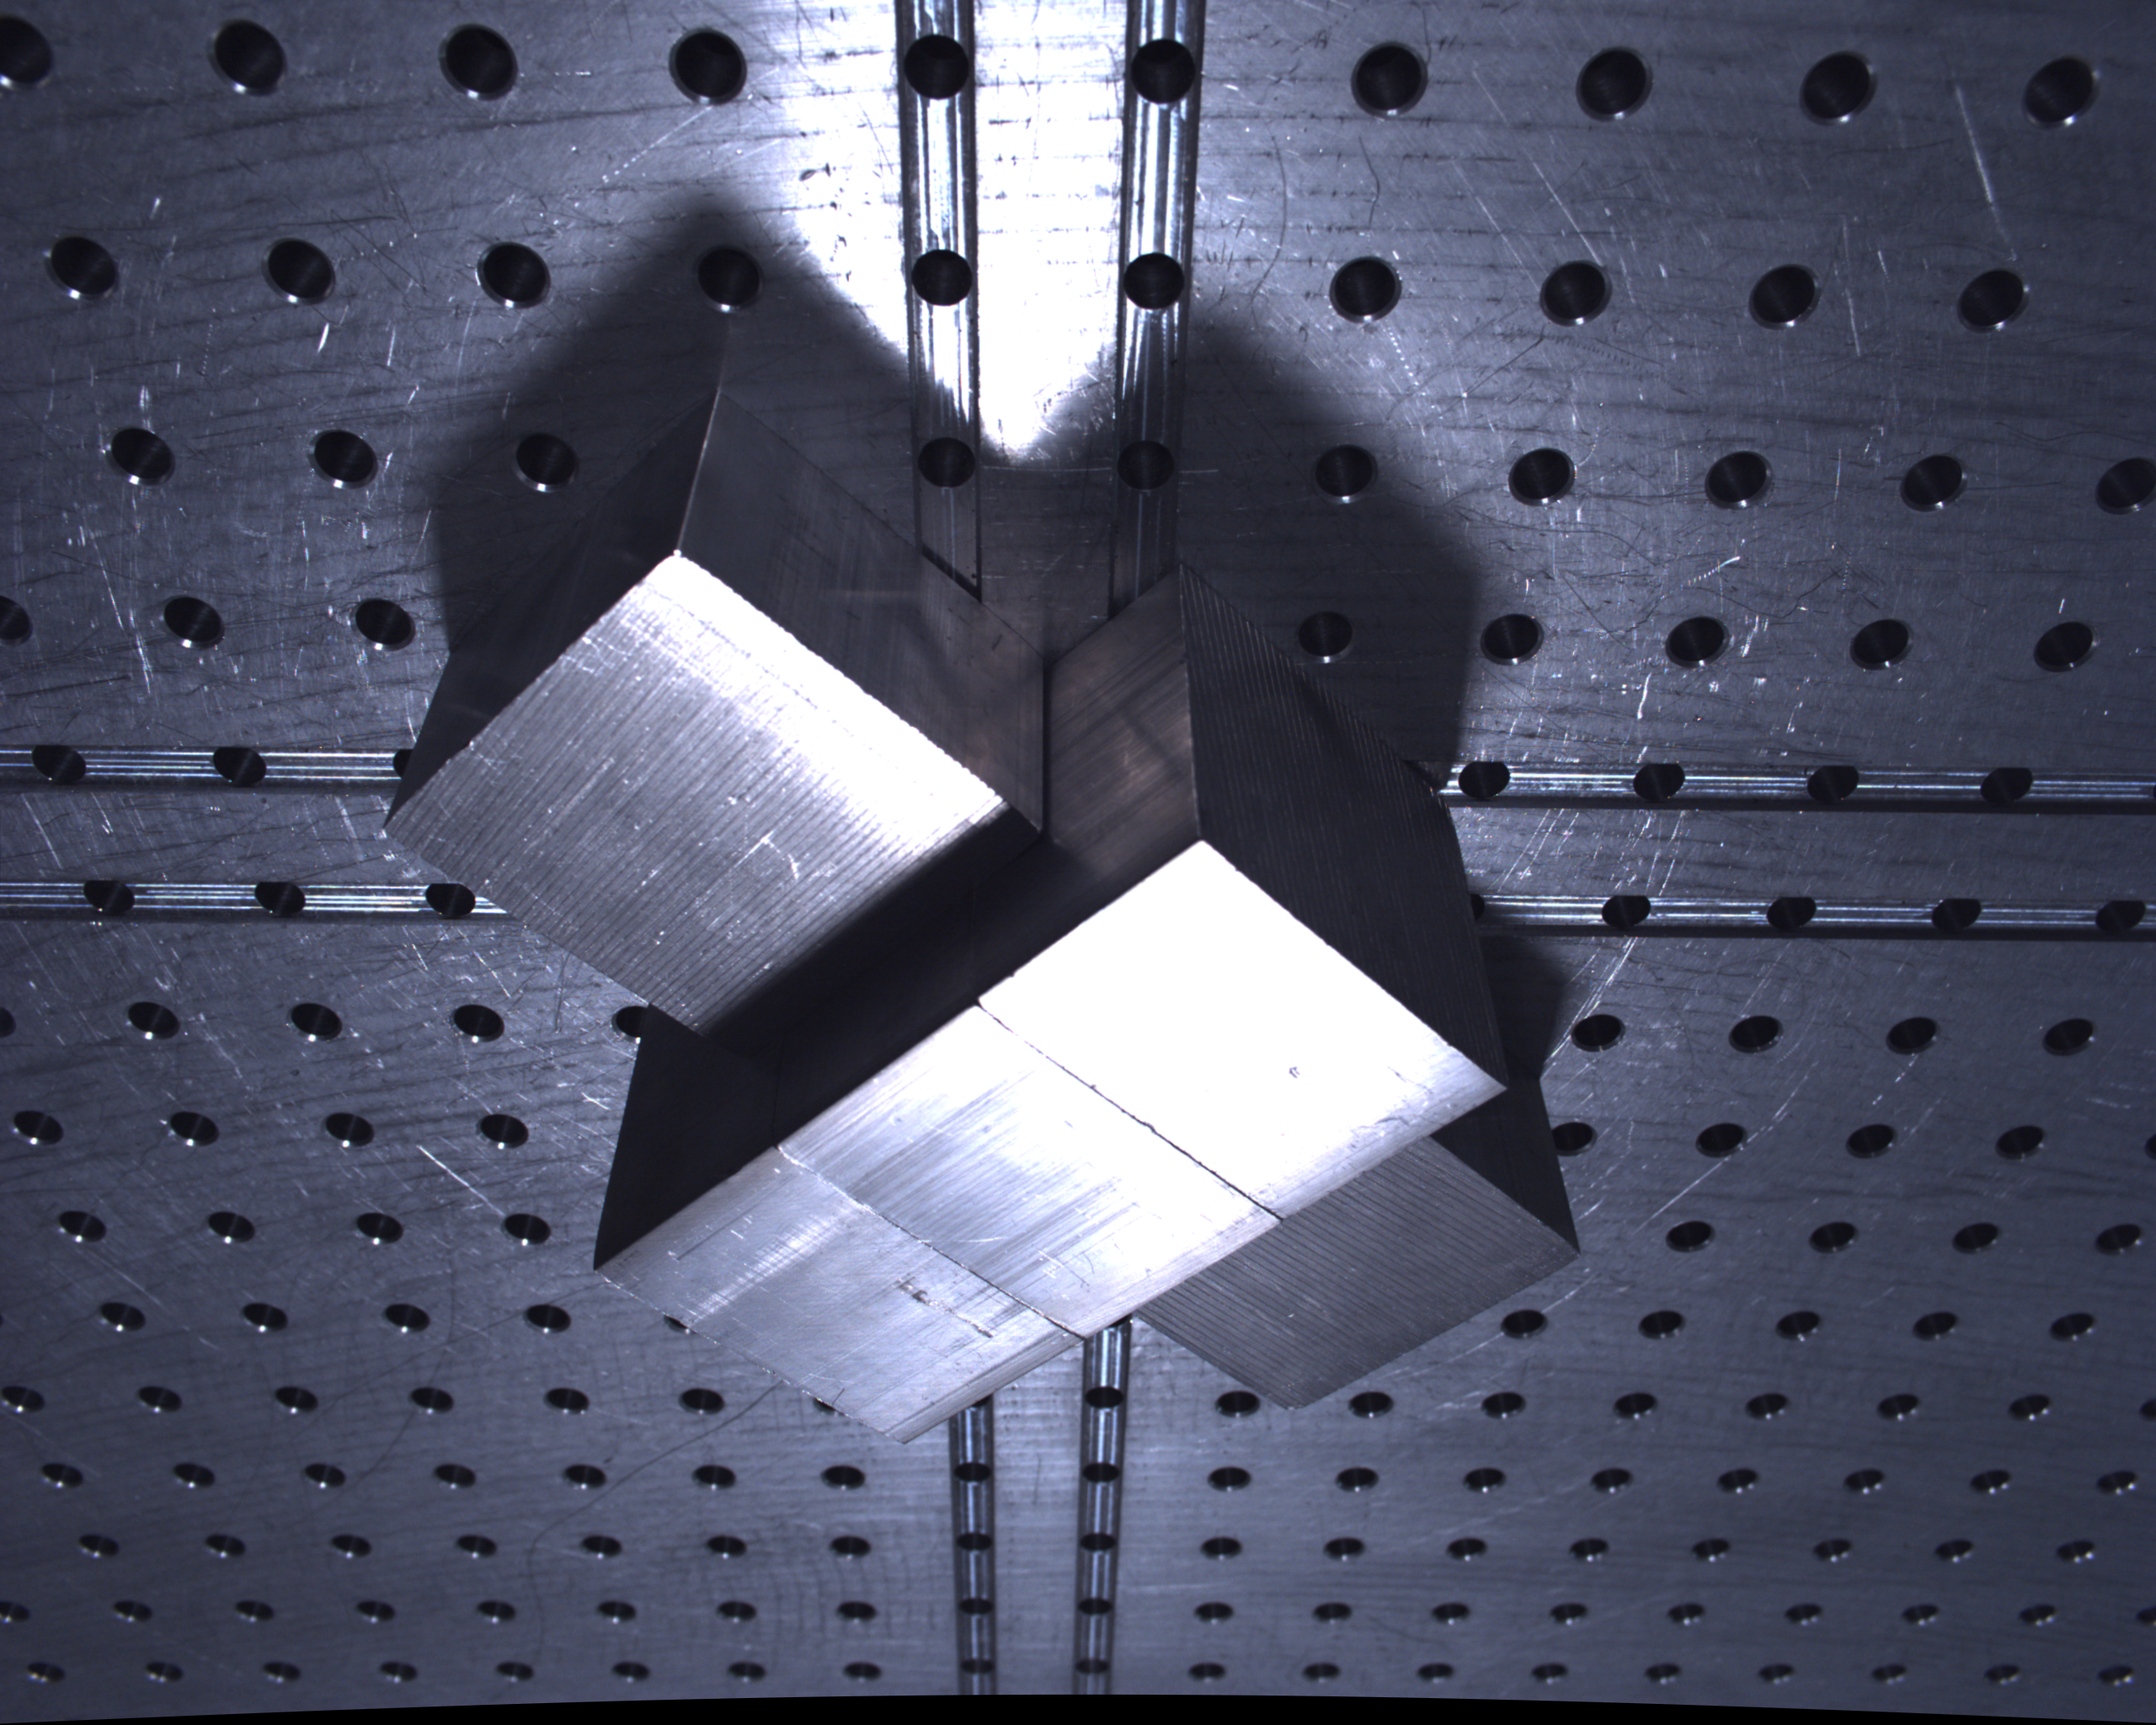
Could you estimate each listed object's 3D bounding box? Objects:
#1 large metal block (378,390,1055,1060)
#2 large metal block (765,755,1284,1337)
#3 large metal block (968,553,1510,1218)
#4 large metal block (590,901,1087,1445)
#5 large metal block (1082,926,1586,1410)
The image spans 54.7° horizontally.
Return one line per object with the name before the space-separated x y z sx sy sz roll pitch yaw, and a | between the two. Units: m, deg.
large metal block | -0.061 -0.022 0.372 0.080 0.050 0.080 -37 122 28
large metal block | -0.009 0.031 0.402 0.050 0.080 0.080 -37 122 26
large metal block | 0.028 0.004 0.380 0.050 0.080 0.080 -37 122 26
large metal block | -0.045 0.058 0.425 0.050 0.080 0.080 -37 122 26
large metal block | 0.049 0.064 0.451 0.080 0.050 0.080 -36 122 27
